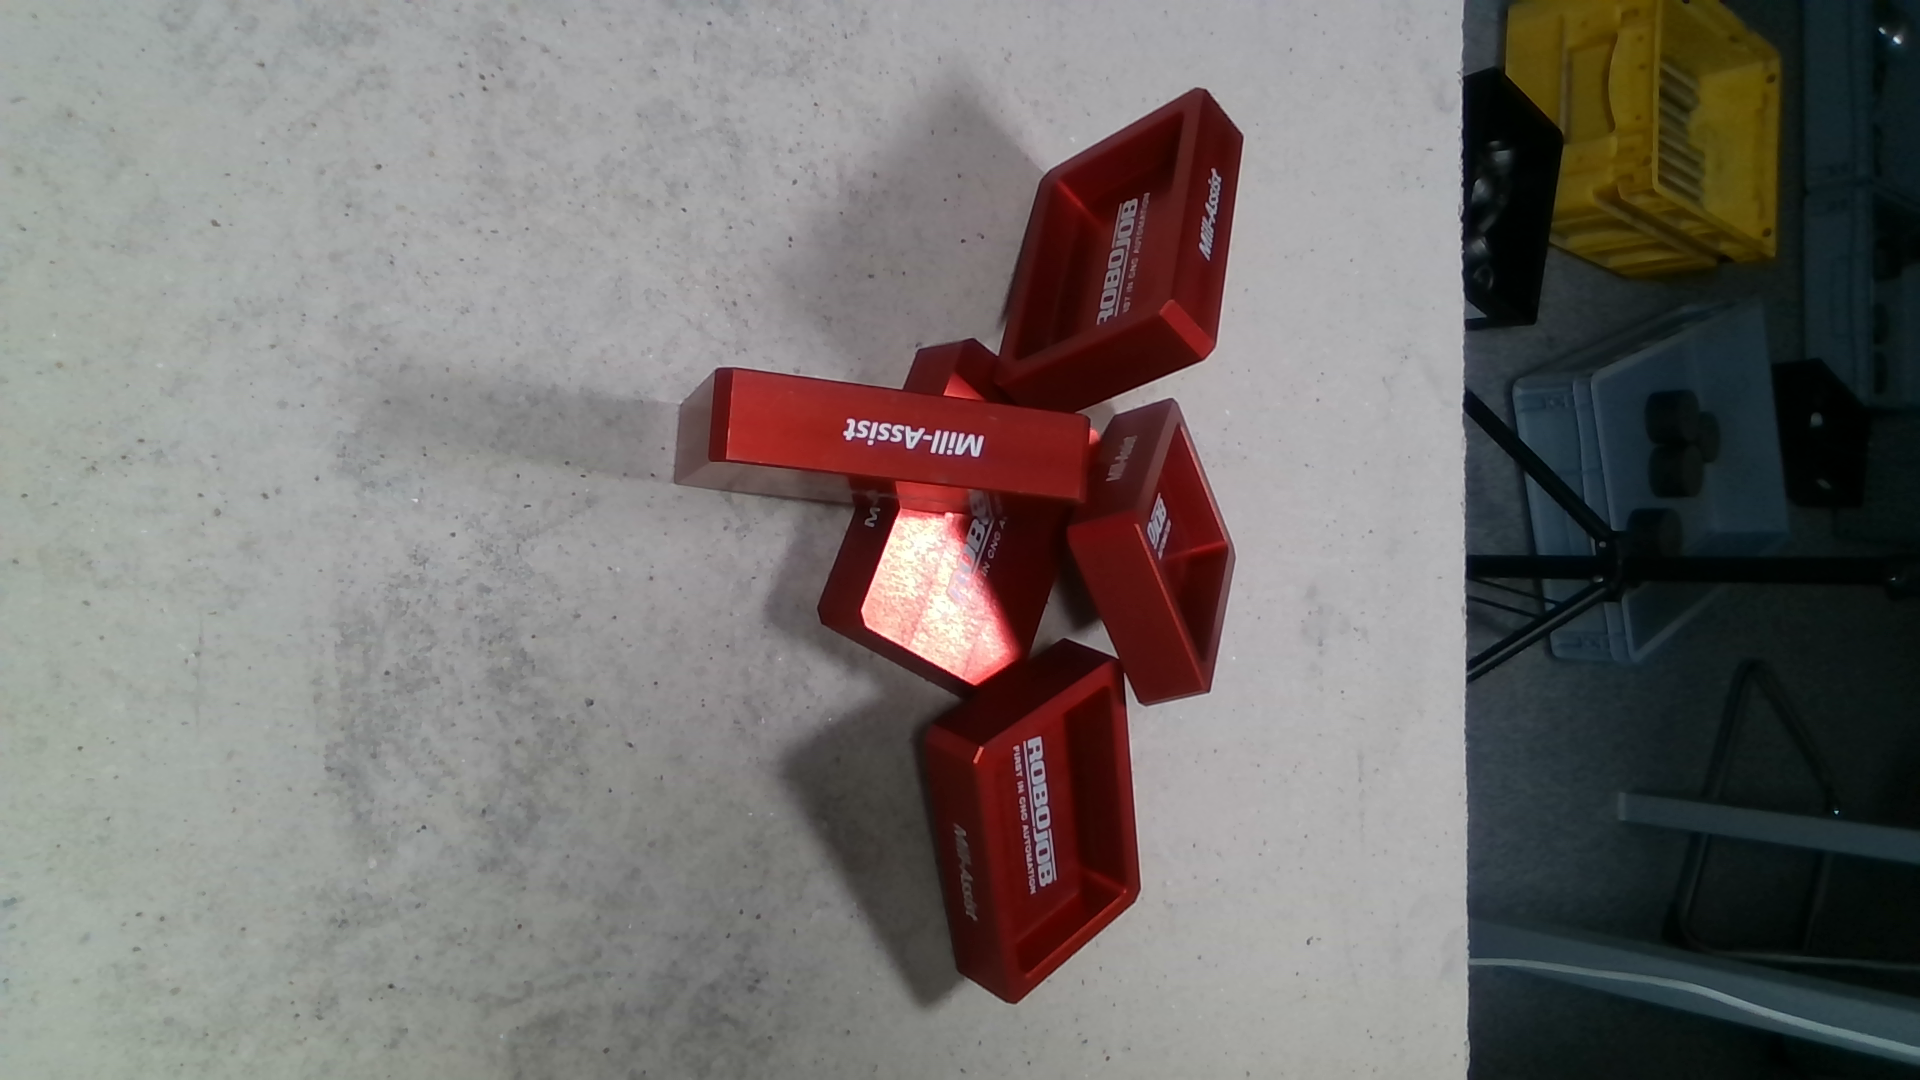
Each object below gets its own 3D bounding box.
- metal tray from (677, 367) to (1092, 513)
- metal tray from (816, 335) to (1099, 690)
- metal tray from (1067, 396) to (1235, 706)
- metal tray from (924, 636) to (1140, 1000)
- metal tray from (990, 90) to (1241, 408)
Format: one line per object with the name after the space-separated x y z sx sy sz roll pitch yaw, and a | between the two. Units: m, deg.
-0.030 -0.032 0.490 0.130 0.090 0.030 5 86 -20 | metal tray
0.002 -0.008 0.582 0.090 0.030 0.130 32 70 -36 | metal tray
0.089 0.002 0.617 0.090 0.030 0.130 65 25 -20 | metal tray
0.034 0.118 0.588 0.090 0.030 0.130 -28 122 -37 | metal tray
0.066 -0.120 0.576 0.030 0.090 0.130 39 49 -33 | metal tray
